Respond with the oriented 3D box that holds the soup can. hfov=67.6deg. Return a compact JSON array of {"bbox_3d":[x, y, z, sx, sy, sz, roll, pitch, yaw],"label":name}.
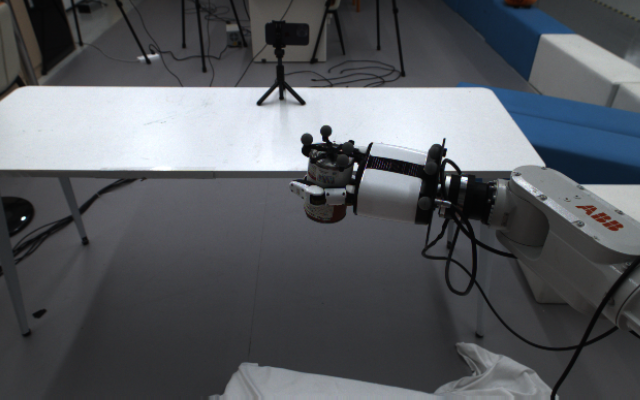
[{"bbox_3d":[0.013,-0.024,0.721,0.067,0.101,0.067,5,37,-3],"label":"soup can"}]
